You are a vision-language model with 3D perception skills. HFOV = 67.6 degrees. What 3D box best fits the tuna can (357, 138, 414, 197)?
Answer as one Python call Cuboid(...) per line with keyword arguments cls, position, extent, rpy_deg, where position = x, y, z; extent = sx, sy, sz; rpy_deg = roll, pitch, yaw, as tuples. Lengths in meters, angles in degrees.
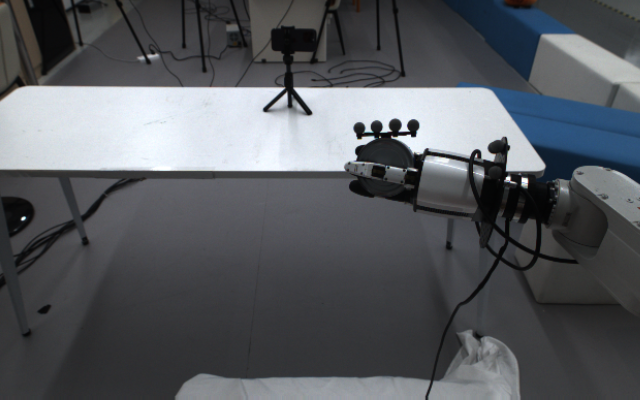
Cuboid(cls="tuna can", position=(0.098, -0.050, 0.713), extent=(0.085, 0.085, 0.034), rpy_deg=(15, 10, 18))
